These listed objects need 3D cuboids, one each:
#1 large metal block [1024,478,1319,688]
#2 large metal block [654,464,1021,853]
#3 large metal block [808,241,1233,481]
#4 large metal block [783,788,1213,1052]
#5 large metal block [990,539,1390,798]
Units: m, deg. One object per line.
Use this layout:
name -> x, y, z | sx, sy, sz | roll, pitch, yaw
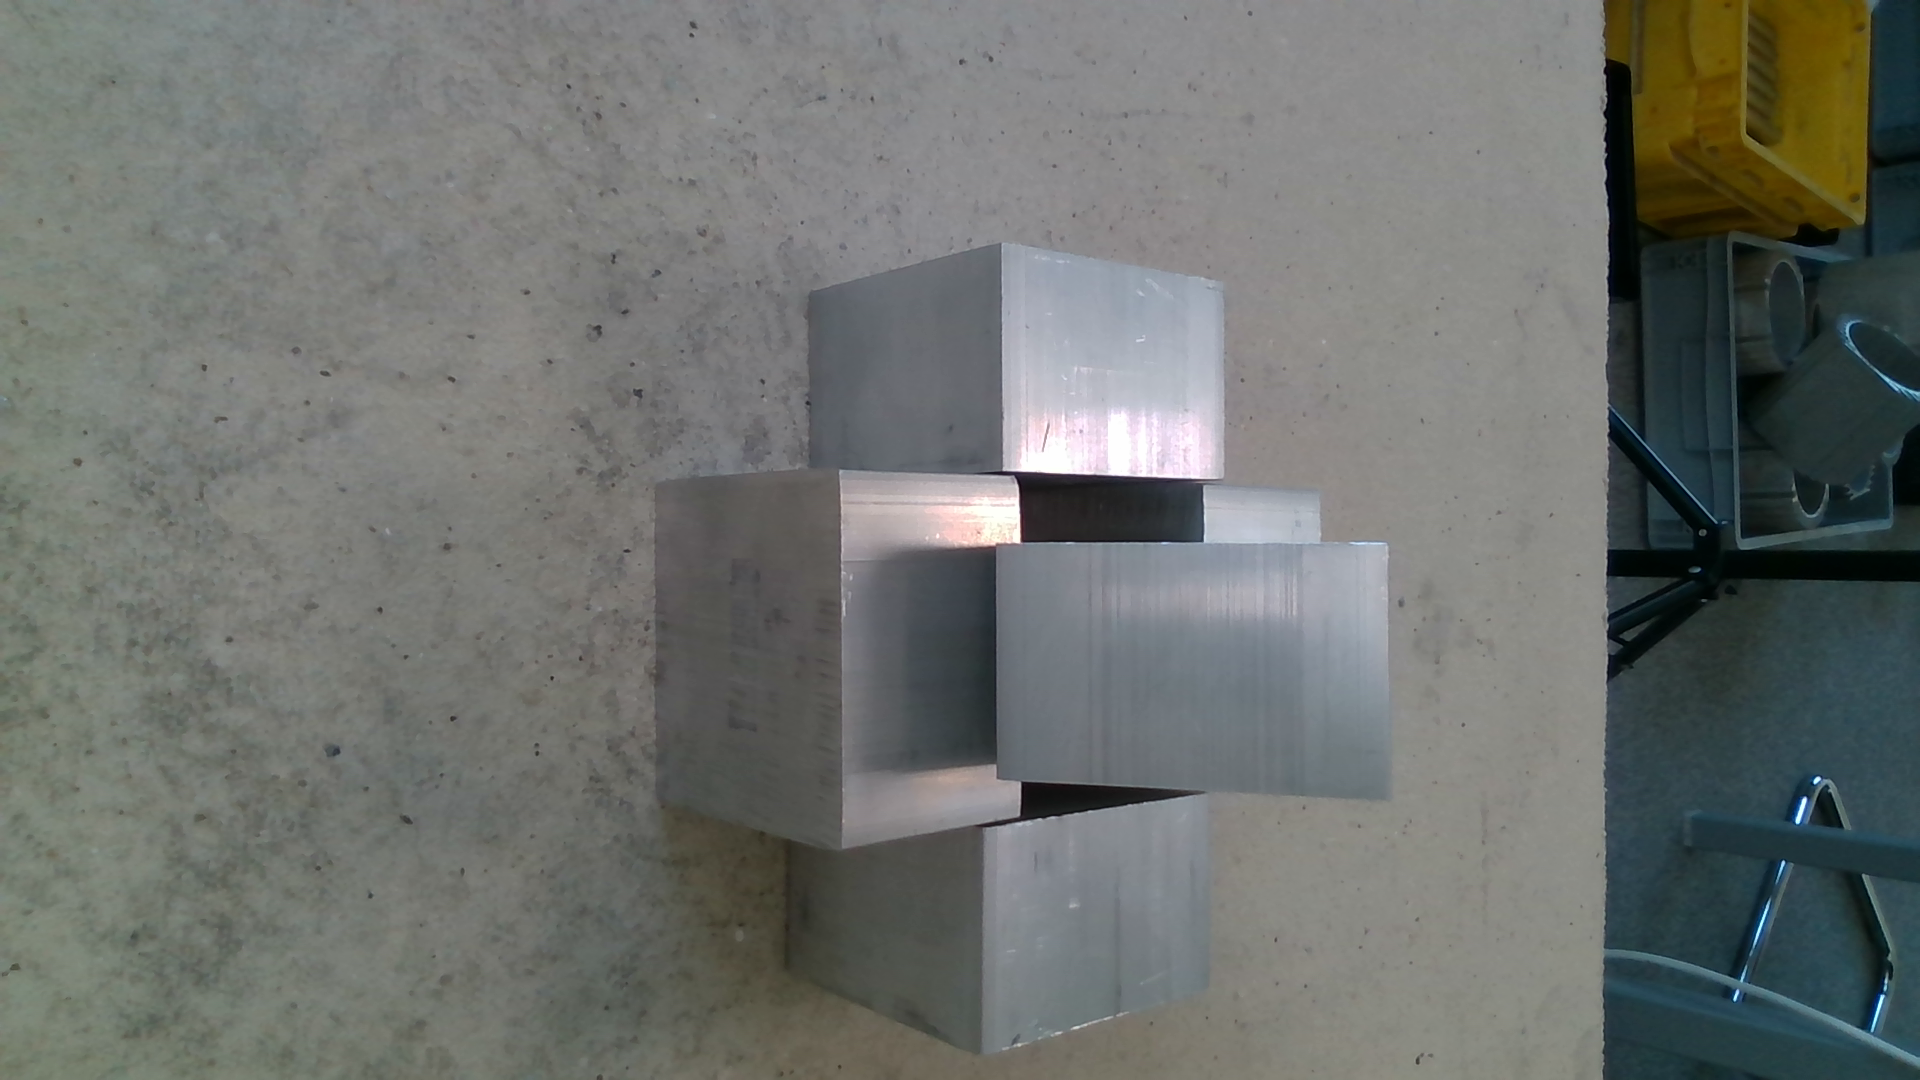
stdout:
large metal block -> 0.056, 0.024, 0.404 | 0.050, 0.080, 0.080 | 1, 89, -40
large metal block -> -0.031, 0.024, 0.330 | 0.050, 0.080, 0.080 | -1, 90, -40
large metal block -> 0.015, -0.042, 0.367 | 0.080, 0.080, 0.050 | 0, 90, -40
large metal block -> 0.009, 0.090, 0.364 | 0.080, 0.080, 0.050 | 1, 89, -40
large metal block -> 0.056, 0.026, 0.318 | 0.080, 0.080, 0.050 | 2, 88, -74
